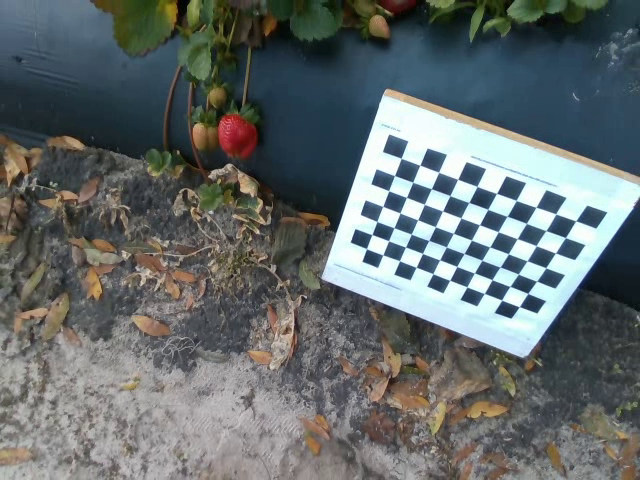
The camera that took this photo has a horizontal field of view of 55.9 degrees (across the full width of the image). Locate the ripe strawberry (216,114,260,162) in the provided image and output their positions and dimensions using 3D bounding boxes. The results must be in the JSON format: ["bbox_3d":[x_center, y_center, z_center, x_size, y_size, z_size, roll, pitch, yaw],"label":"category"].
[{"bbox_3d":[-0.118,-0.139,0.799,0.067,0.074,0.053,6,34,15],"label":"ripe strawberry"}]
